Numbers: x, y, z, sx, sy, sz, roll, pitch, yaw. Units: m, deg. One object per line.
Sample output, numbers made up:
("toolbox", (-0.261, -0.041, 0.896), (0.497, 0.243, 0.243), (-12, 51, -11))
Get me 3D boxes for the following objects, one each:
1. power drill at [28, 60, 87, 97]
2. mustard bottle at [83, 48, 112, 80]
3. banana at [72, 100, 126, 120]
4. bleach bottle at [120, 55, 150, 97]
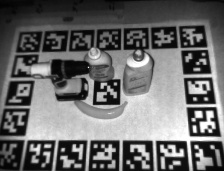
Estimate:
("power drill", (-0.162, -0.024, 0.715), (0.184, 0.188, 0.057), (-3, 64, 2))
("mustard bottle", (-0.057, -0.076, 0.744), (0.096, 0.192, 0.058), (0, 71, 5))
("banana", (-0.049, 0.083, 0.768), (0.196, 0.039, 0.074), (2, 76, 8))
("bleach bottle", (0.067, -0.029, 0.695), (0.102, 0.252, 0.067), (-9, 71, 3))
